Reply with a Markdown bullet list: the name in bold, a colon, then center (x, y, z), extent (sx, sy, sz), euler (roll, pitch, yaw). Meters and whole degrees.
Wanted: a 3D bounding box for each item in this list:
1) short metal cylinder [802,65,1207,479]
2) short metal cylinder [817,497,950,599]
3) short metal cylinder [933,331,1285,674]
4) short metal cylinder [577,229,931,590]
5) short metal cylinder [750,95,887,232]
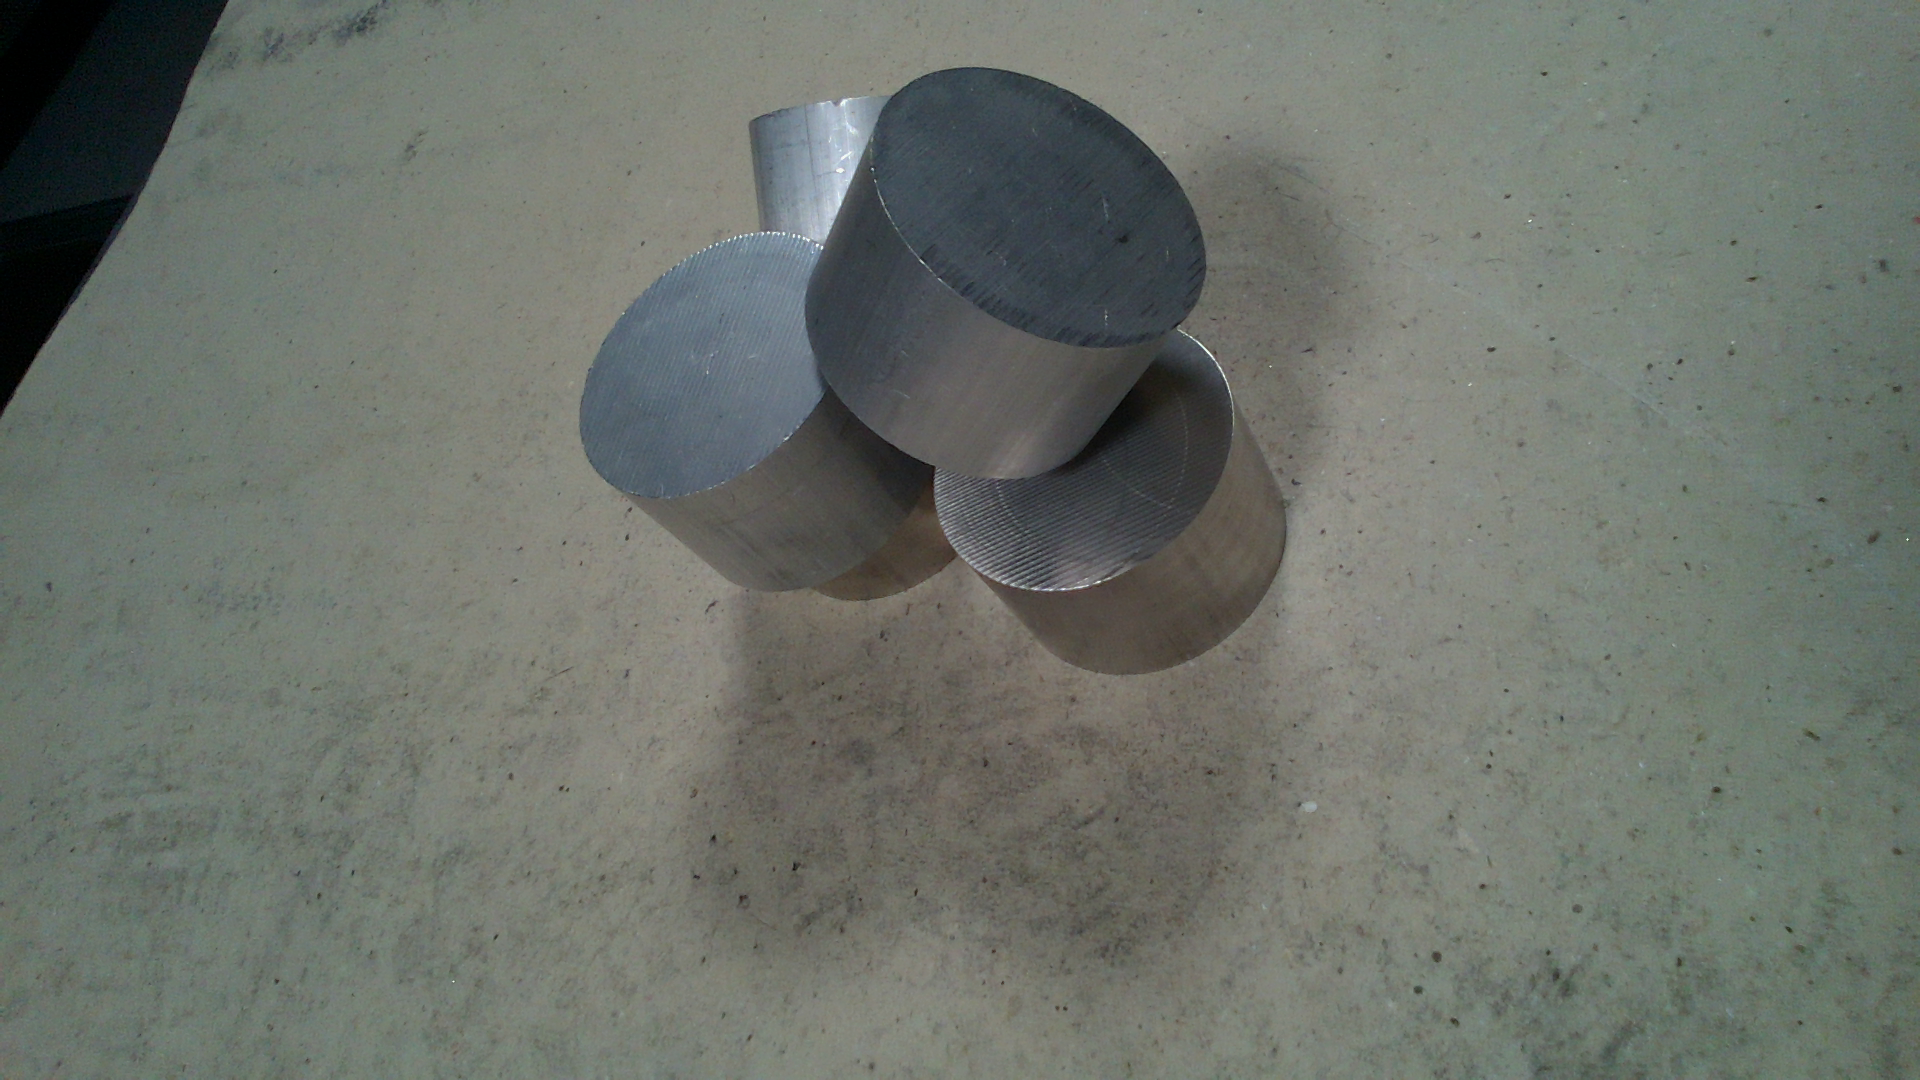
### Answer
- **short metal cylinder**: center (0.009, -0.061, 0.317), extent (0.050, 0.080, 0.080), euler (126, 148, -50)
- **short metal cylinder**: center (-0.034, -0.029, 0.414), extent (0.080, 0.050, 0.080), euler (-14, 56, 21)
- **short metal cylinder**: center (0.040, -0.012, 0.363), extent (0.080, 0.050, 0.080), euler (-14, 56, 21)
- **short metal cylinder**: center (-0.052, -0.034, 0.361), extent (0.080, 0.050, 0.080), euler (-14, 56, 21)
- **short metal cylinder**: center (-0.023, -0.106, 0.428), extent (0.080, 0.080, 0.050), euler (0, 100, 28)
